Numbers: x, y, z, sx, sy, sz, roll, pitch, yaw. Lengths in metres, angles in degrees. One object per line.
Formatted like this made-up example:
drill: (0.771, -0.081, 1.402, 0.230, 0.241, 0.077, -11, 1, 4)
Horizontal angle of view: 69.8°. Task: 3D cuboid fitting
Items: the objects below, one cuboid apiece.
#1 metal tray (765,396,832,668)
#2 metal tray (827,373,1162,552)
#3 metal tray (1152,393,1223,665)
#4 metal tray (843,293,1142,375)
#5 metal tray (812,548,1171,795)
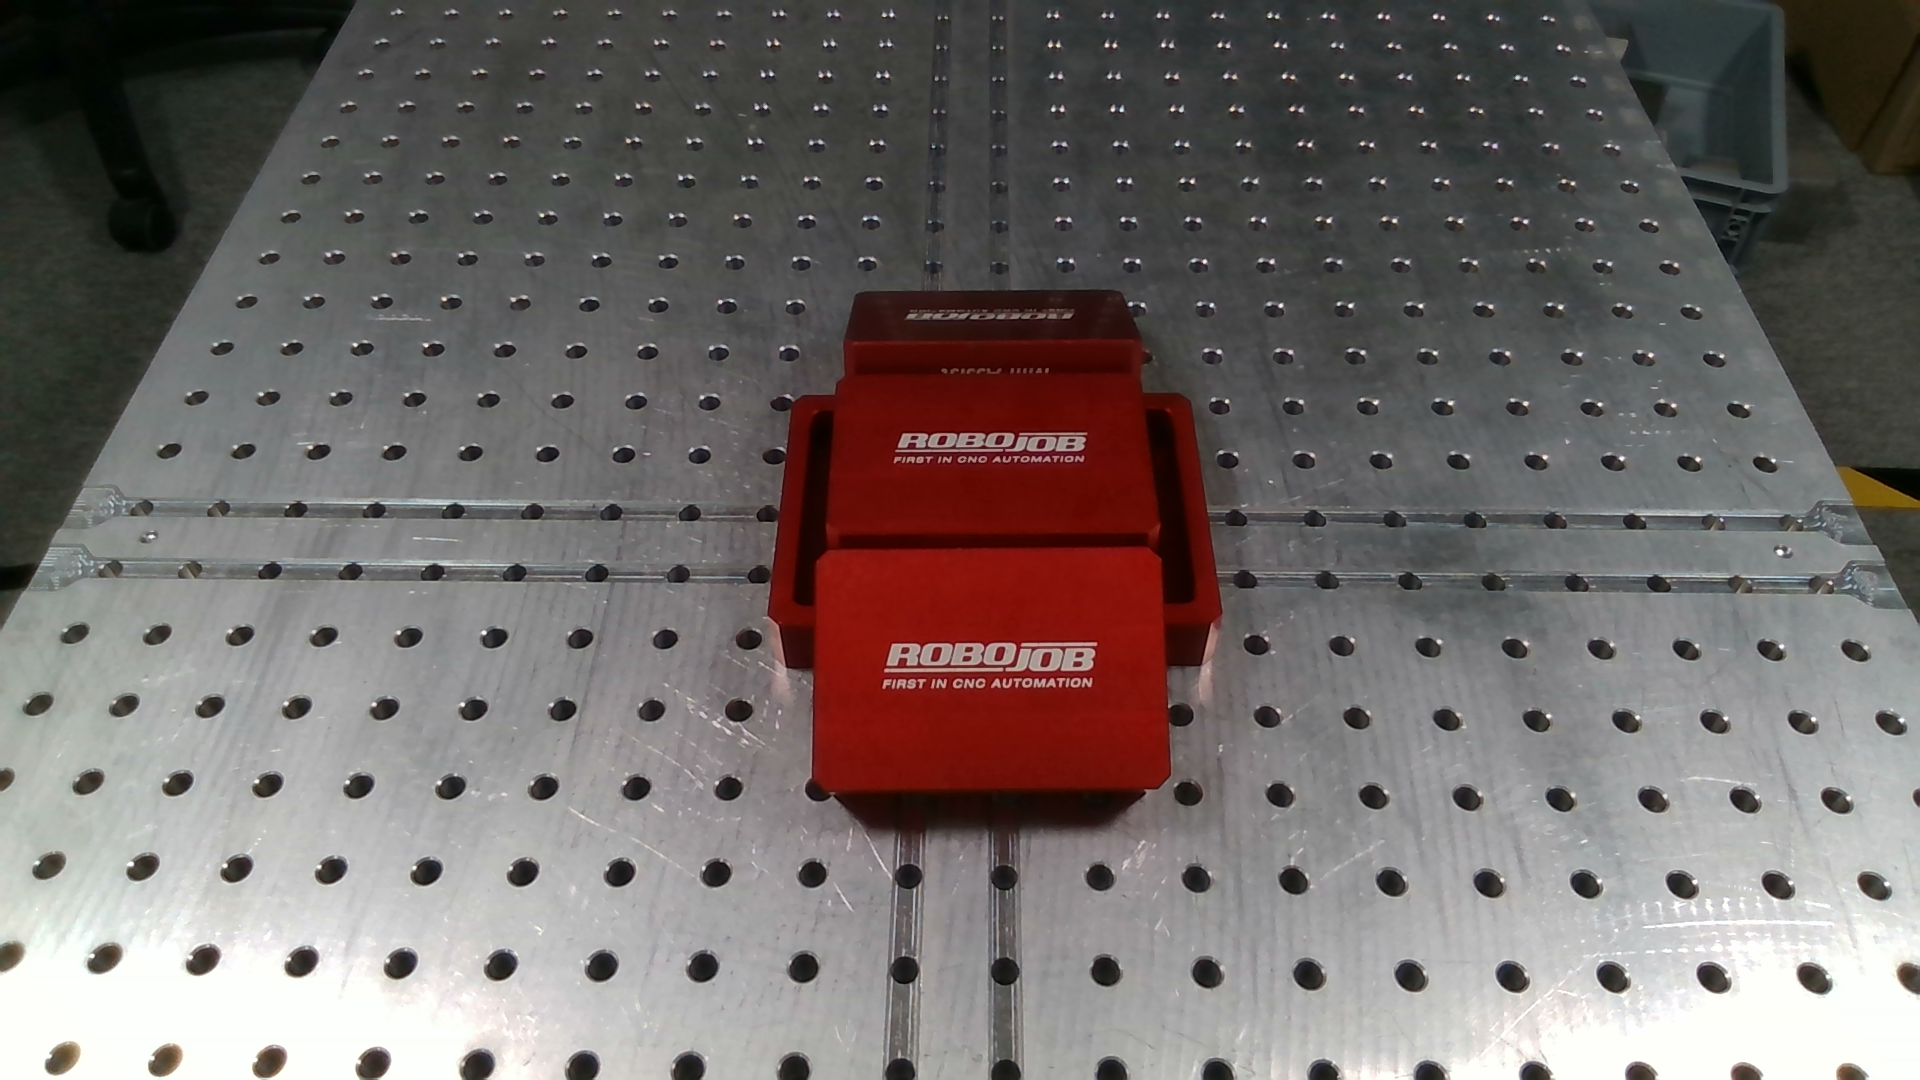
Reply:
metal tray: (-0.032, -0.007, 0.593, 0.090, 0.030, 0.130, 0, 50, 1)
metal tray: (0.013, -0.027, 0.570, 0.130, 0.030, 0.090, 0, 50, 0)
metal tray: (0.059, -0.008, 0.593, 0.090, 0.030, 0.130, 0, 50, 1)
metal tray: (0.014, -0.091, 0.639, 0.130, 0.030, 0.090, -1, 24, 0)
metal tray: (0.011, 0.050, 0.520, 0.130, 0.030, 0.090, -1, 77, 0)
